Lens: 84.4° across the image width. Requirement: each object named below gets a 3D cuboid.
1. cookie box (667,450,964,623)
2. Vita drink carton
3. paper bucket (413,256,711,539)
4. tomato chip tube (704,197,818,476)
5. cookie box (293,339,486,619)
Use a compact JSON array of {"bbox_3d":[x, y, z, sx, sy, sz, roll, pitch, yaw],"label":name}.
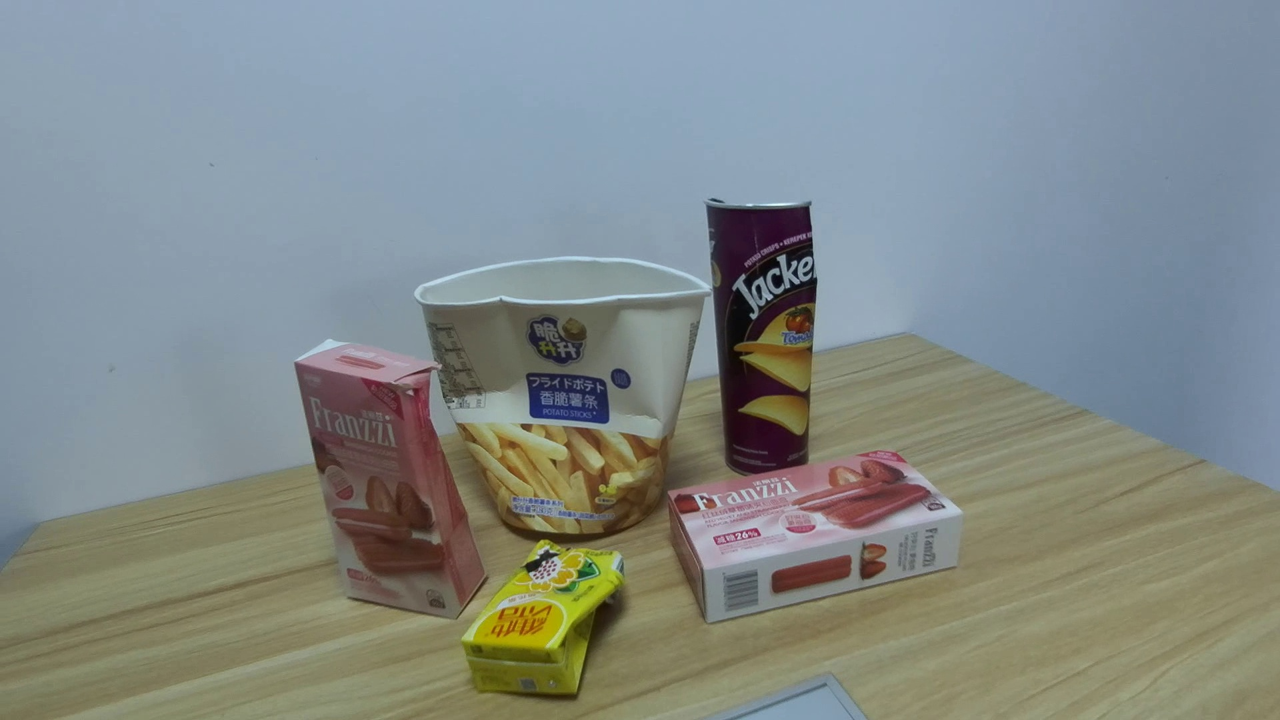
[{"bbox_3d":[0.120,0.120,0.506,0.185,0.048,0.096,-9,22,-9],"label":"cookie box"},{"bbox_3d":[-0.058,0.162,0.450,0.087,0.042,0.108,-5,16,20],"label":"Vita drink carton"},{"bbox_3d":[-0.057,0.027,0.580,0.218,0.199,0.147,-10,22,-9],"label":"paper bucket"},{"bbox_3d":[0.106,-0.019,0.607,0.076,0.235,0.077,-8,20,-5],"label":"tomato chip tube"},{"bbox_3d":[-0.168,0.084,0.485,0.118,0.184,0.055,5,23,25],"label":"cookie box"}]
